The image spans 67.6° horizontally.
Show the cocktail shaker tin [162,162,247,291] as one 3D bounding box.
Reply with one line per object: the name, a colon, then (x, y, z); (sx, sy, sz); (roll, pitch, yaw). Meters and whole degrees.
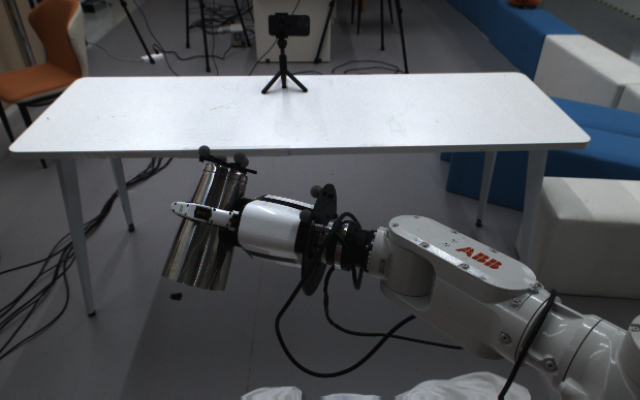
cocktail shaker tin: (-0.161, 0.038, 0.706); (0.093, 0.170, 0.093); (15, -6, 2)
